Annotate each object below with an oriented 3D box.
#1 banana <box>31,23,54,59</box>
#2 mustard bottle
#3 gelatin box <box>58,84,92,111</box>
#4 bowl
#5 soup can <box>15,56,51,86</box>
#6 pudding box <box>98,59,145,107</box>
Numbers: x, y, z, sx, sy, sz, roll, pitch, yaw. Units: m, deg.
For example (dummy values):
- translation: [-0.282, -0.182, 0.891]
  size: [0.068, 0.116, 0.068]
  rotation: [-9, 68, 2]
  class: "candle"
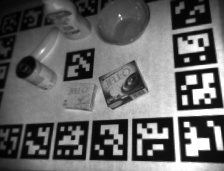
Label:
- translation: [-0.261, -0.134, 0.737]
  size: [0.197, 0.039, 0.073]
  rotation: [-49, 51, -1]
  class: "banana"
- translation: [-0.154, -0.216, 0.625]
  size: [0.095, 0.194, 0.058]
  rotation: [-6, 66, 20]
  class: "mustard bottle"
- translation: [-0.106, 0.033, 0.618]
  size: [0.088, 0.030, 0.073]
  rotation: [2, 75, 23]
  class: "gelatin box"
- translation: [0.033, -0.187, 0.635]
  size: [0.160, 0.056, 0.161]
  rotation: [-8, 67, 20]
  class: "bowl"
- translation: [-0.242, -0.047, 0.650]
  size: [0.067, 0.103, 0.067]
  rotation: [-7, 66, 18]
  class: "soup can"
- translation: [0.020, -0.008, 0.578]
  size: [0.113, 0.039, 0.089]
  rotation: [-28, 68, 10]
  class: "pudding box"
